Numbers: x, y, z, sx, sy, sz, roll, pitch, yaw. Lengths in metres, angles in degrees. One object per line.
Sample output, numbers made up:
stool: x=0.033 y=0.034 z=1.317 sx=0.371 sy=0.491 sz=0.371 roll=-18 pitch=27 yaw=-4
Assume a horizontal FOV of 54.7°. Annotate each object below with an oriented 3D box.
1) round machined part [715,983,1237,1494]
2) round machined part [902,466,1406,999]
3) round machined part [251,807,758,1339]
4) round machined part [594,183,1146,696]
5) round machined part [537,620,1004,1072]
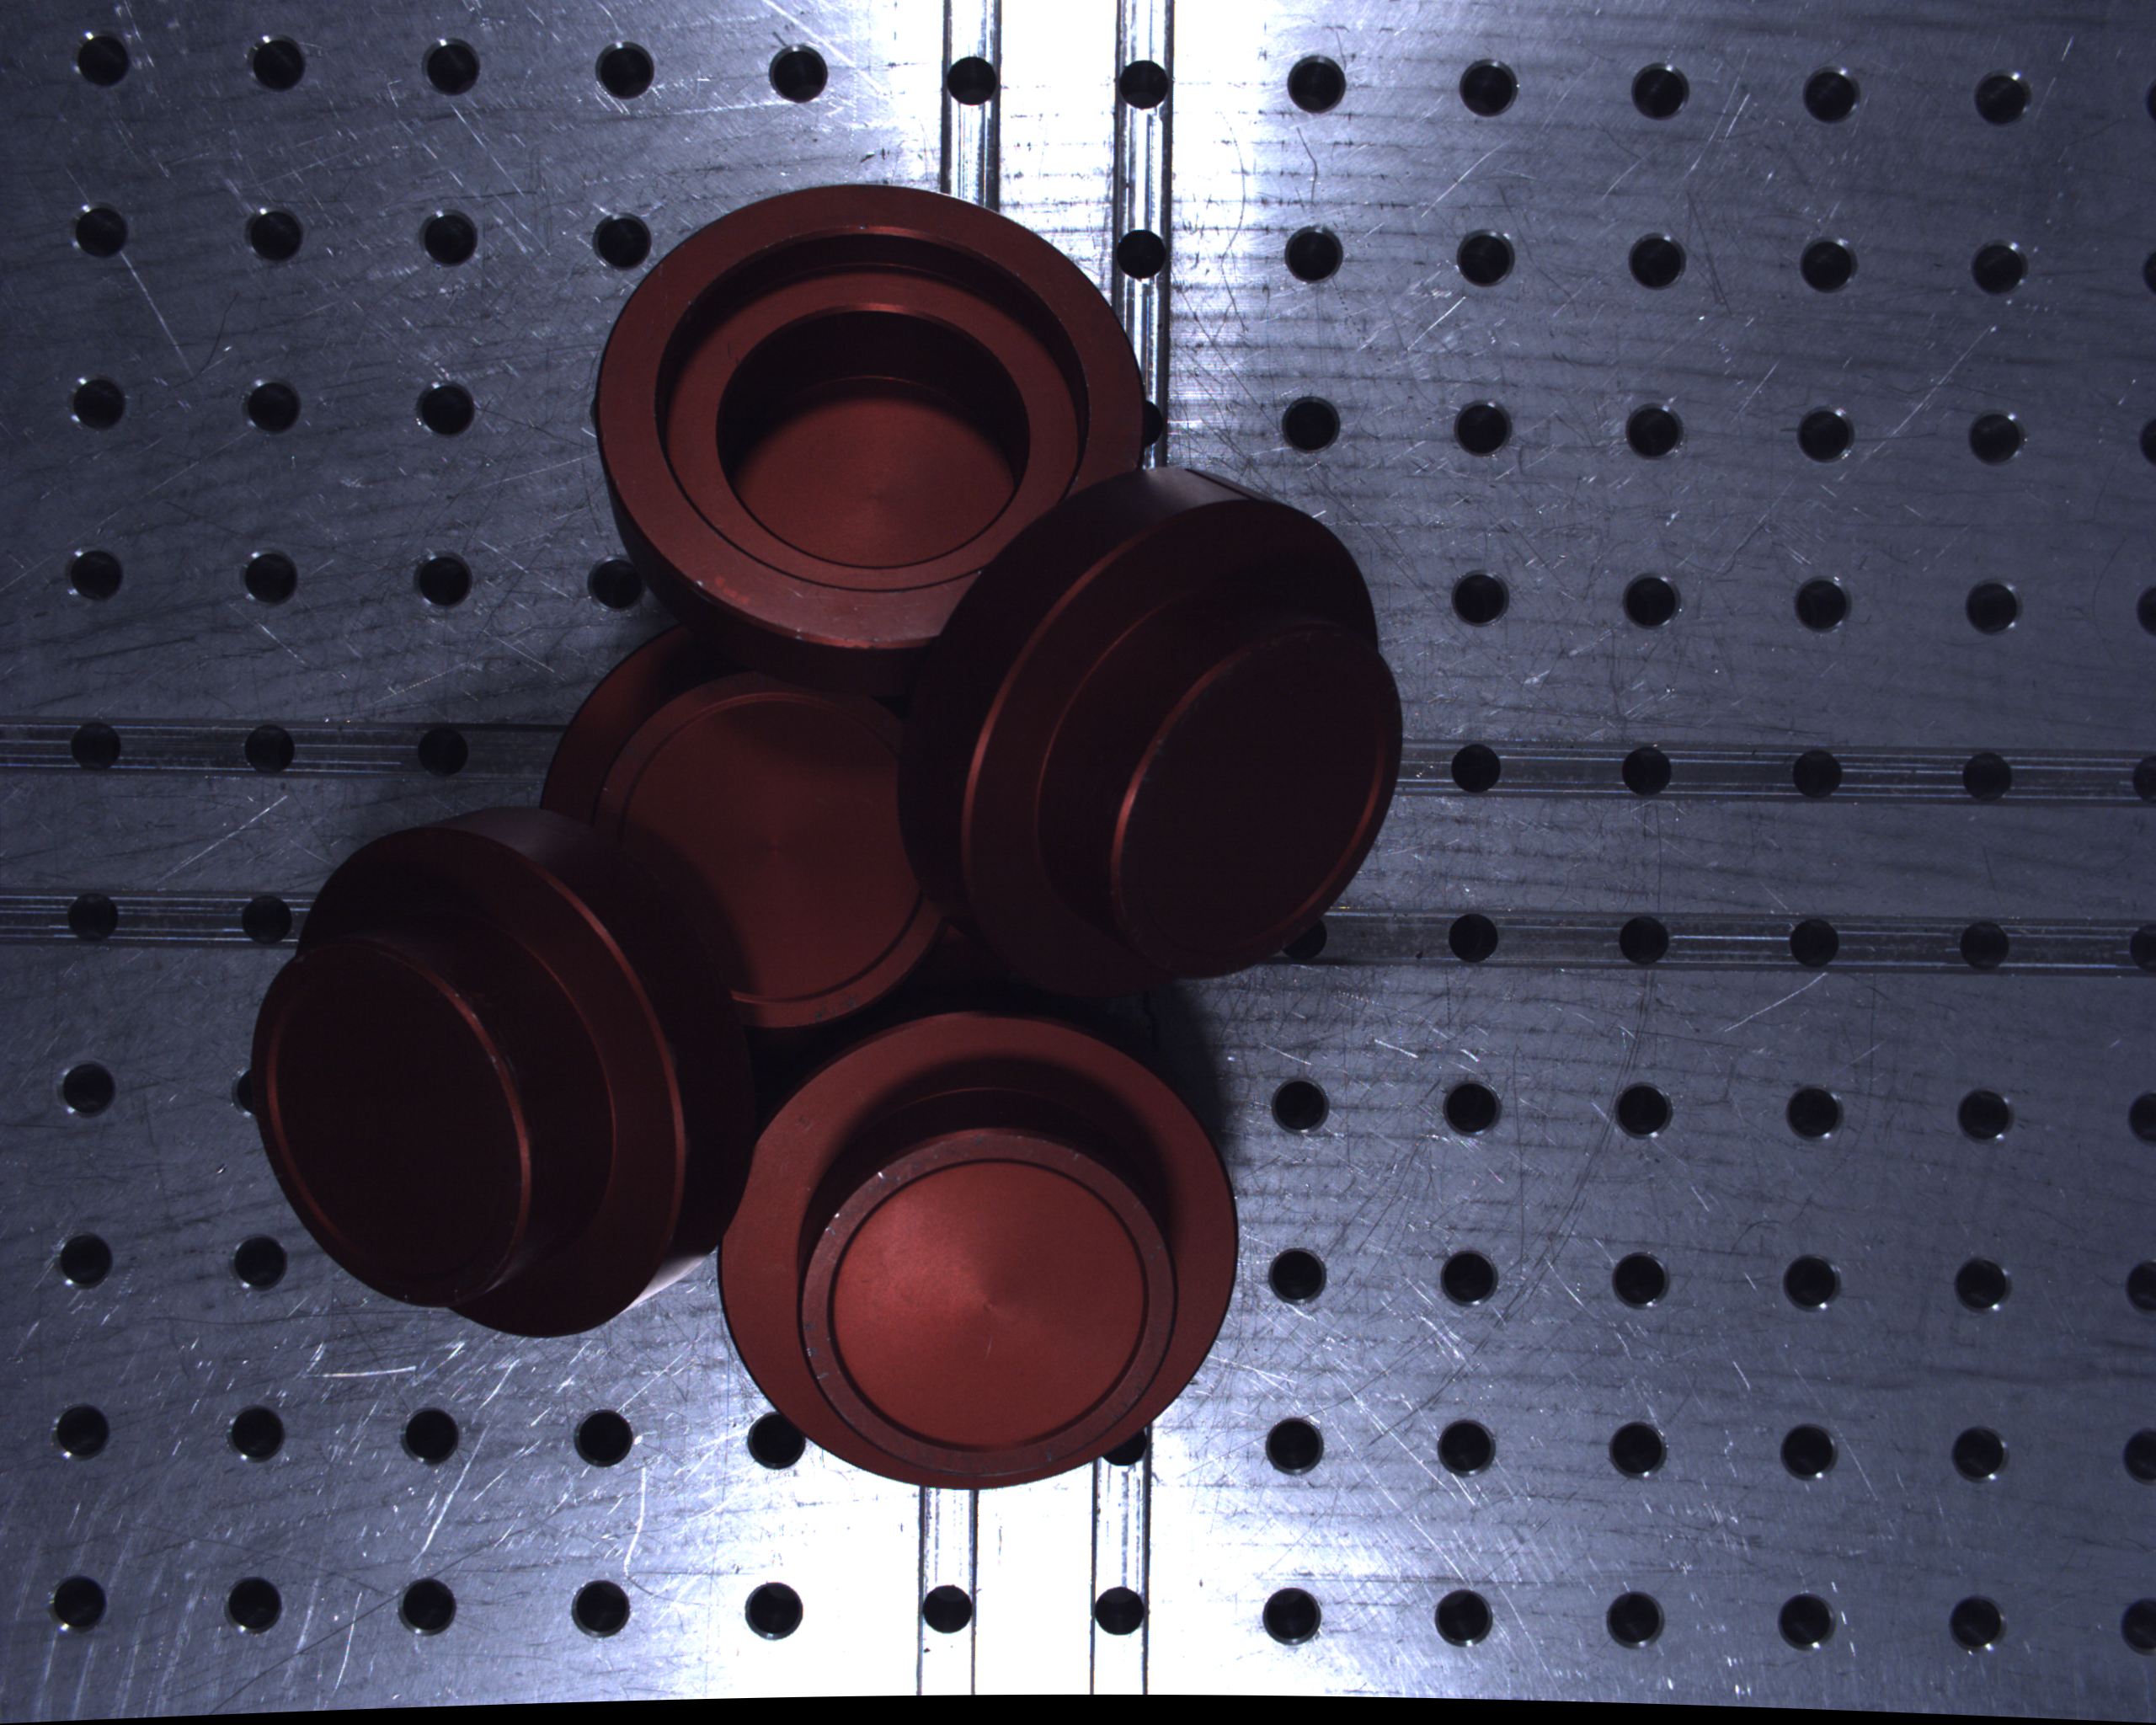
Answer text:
round machined part: x=-0.018 y=0.075 z=0.392 sx=0.099 sy=0.042 sz=0.097 roll=-1 pitch=102 yaw=-6
round machined part: x=0.020 y=-0.018 z=0.376 sx=0.042 sy=0.098 sz=0.098 roll=34 pitch=90 yaw=41
round machined part: x=-0.110 y=0.041 z=0.380 sx=0.098 sy=0.042 sz=0.097 roll=8 pitch=106 yaw=28
round machined part: x=-0.038 y=-0.075 z=0.393 sx=0.099 sy=0.042 sz=0.098 roll=2 pitch=69 yaw=-5
round machined part: x=-0.057 y=-0.003 z=0.403 sx=0.099 sy=0.042 sz=0.097 roll=0 pitch=90 yaw=-1
